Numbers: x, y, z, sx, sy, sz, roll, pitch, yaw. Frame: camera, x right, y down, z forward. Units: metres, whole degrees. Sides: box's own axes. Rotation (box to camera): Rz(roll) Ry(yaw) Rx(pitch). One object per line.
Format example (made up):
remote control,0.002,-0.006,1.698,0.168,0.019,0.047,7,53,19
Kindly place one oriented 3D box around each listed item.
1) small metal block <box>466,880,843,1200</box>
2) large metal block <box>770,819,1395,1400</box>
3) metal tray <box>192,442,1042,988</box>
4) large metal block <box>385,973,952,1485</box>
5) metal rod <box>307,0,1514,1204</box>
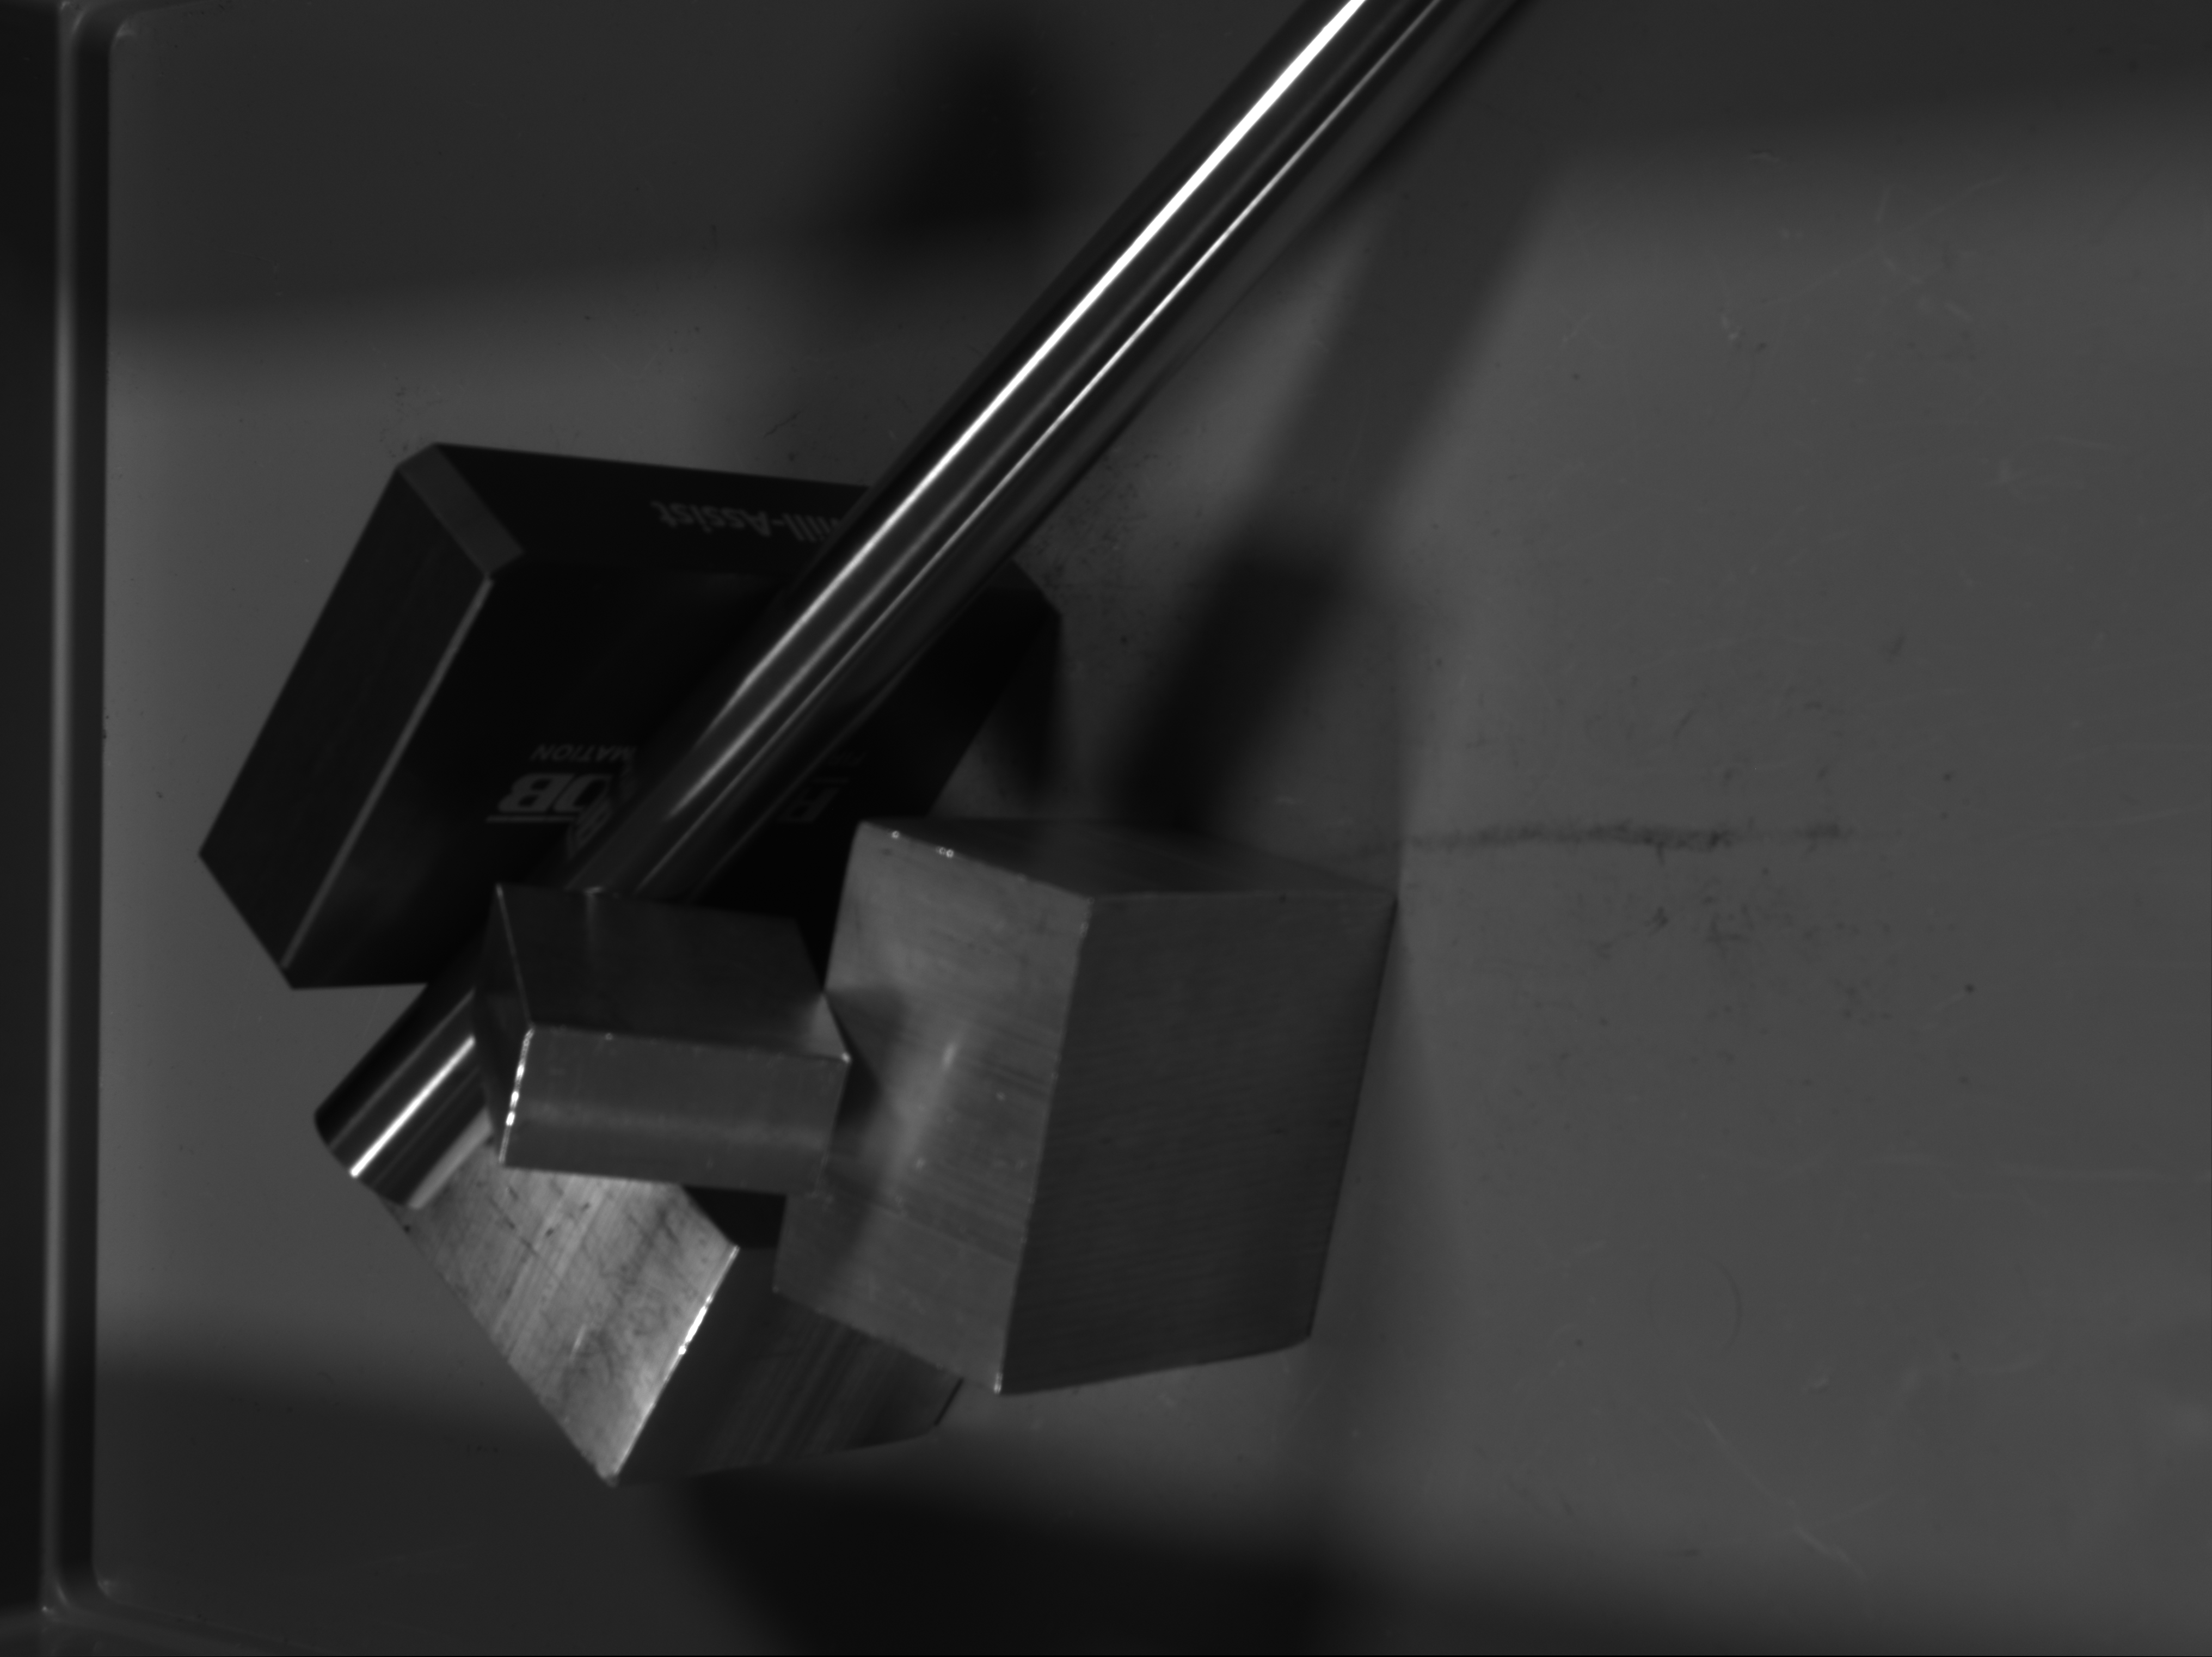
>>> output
small metal block,-0.073,0.033,0.583,0.050,0.050,0.025,-119,41,-61
large metal block,-0.003,0.043,0.603,0.050,0.080,0.080,17,101,38
metal tray,-0.082,-0.017,0.634,0.030,0.130,0.090,48,119,30
large metal block,-0.071,0.067,0.659,0.080,0.080,0.050,44,116,31
metal rod,-0.025,-0.053,0.598,0.300,0.025,0.025,-47,61,10
